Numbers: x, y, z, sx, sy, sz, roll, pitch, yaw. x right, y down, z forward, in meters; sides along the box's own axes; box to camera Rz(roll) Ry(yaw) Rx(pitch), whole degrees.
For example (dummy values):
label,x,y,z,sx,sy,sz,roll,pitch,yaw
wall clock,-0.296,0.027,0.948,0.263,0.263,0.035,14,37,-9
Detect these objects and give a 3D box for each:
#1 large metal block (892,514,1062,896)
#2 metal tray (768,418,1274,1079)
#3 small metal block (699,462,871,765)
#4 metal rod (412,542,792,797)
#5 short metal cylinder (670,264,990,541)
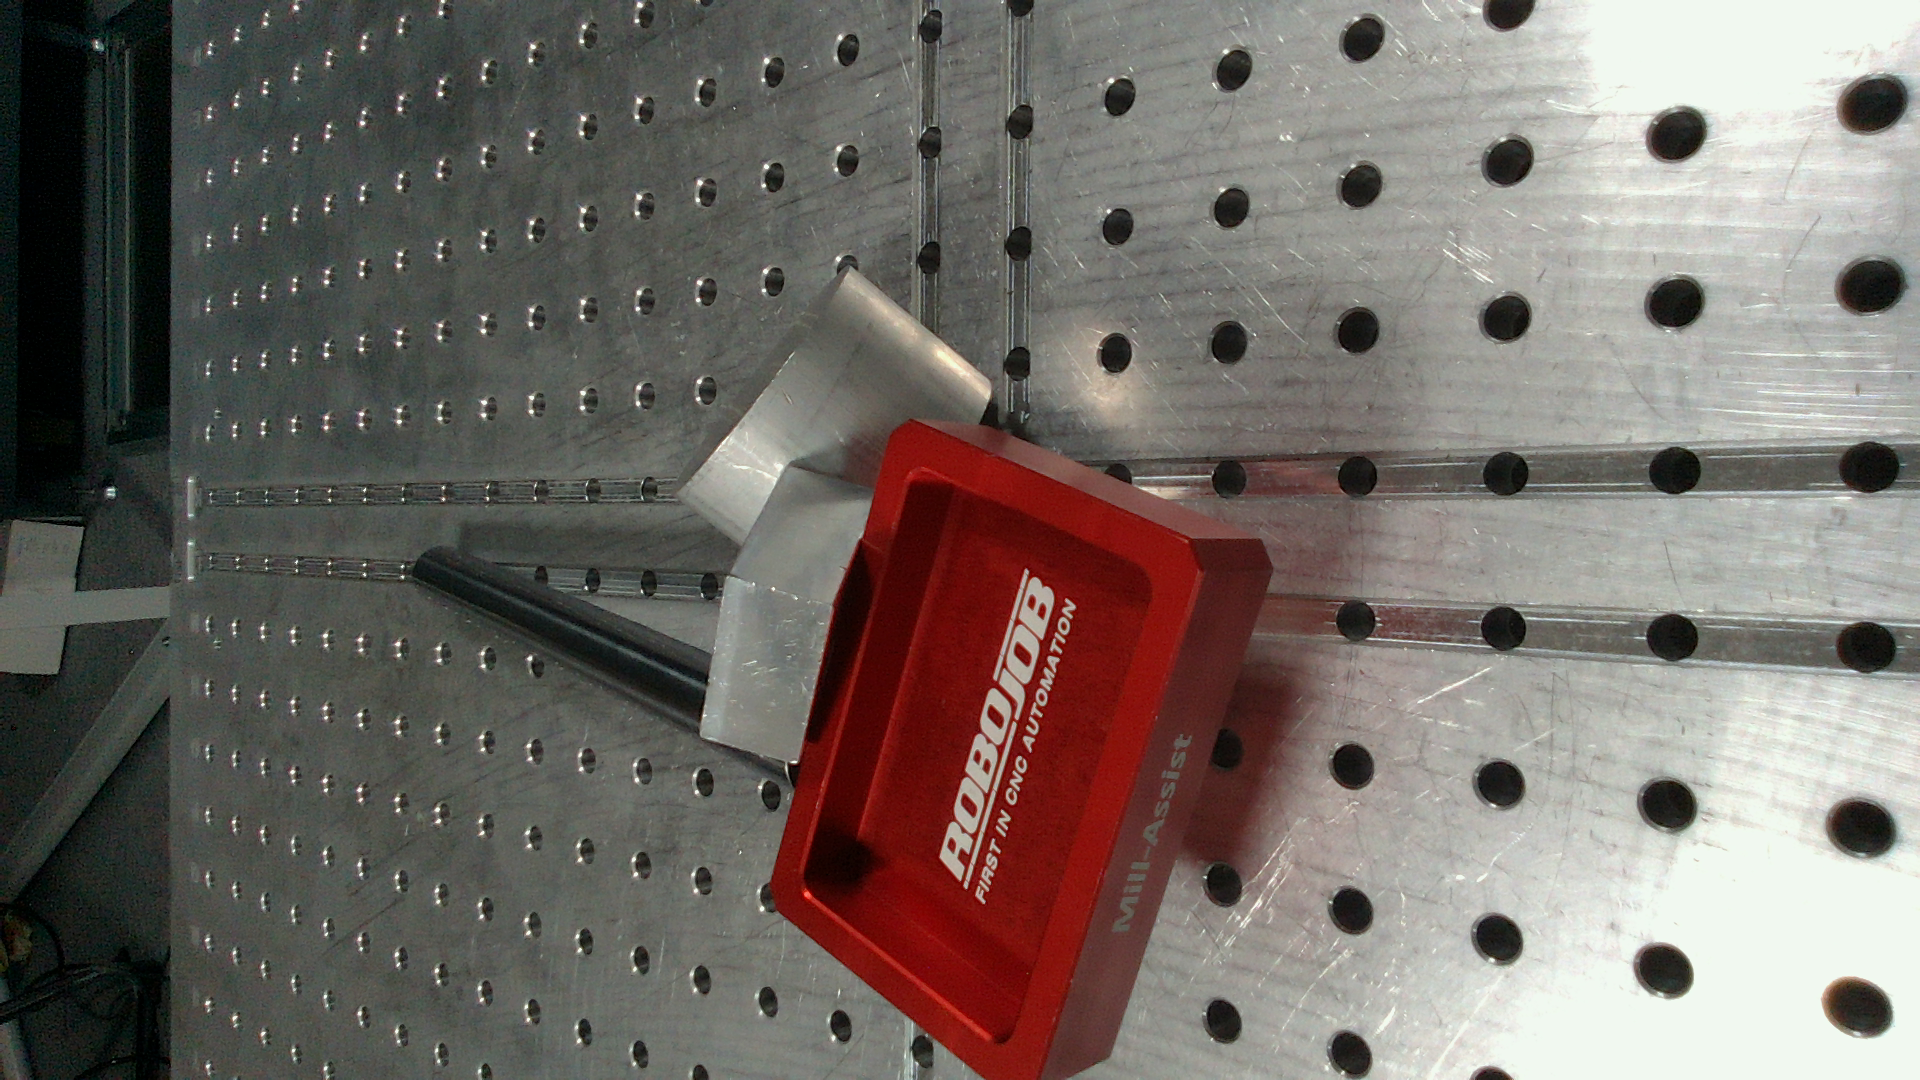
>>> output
label,x,y,z,sx,sy,sz,roll,pitch,yaw
large metal block,0.009,0.038,0.373,0.080,0.050,0.080,-43,64,32
metal tray,0.009,0.047,0.318,0.090,0.030,0.130,26,106,37
small metal block,-0.041,0.017,0.338,0.025,0.050,0.050,16,124,0
metal rod,-0.128,0.034,0.467,0.299,0.025,0.025,13,98,51
short metal cylinder,-0.037,-0.030,0.385,0.050,0.080,0.080,38,123,-14
